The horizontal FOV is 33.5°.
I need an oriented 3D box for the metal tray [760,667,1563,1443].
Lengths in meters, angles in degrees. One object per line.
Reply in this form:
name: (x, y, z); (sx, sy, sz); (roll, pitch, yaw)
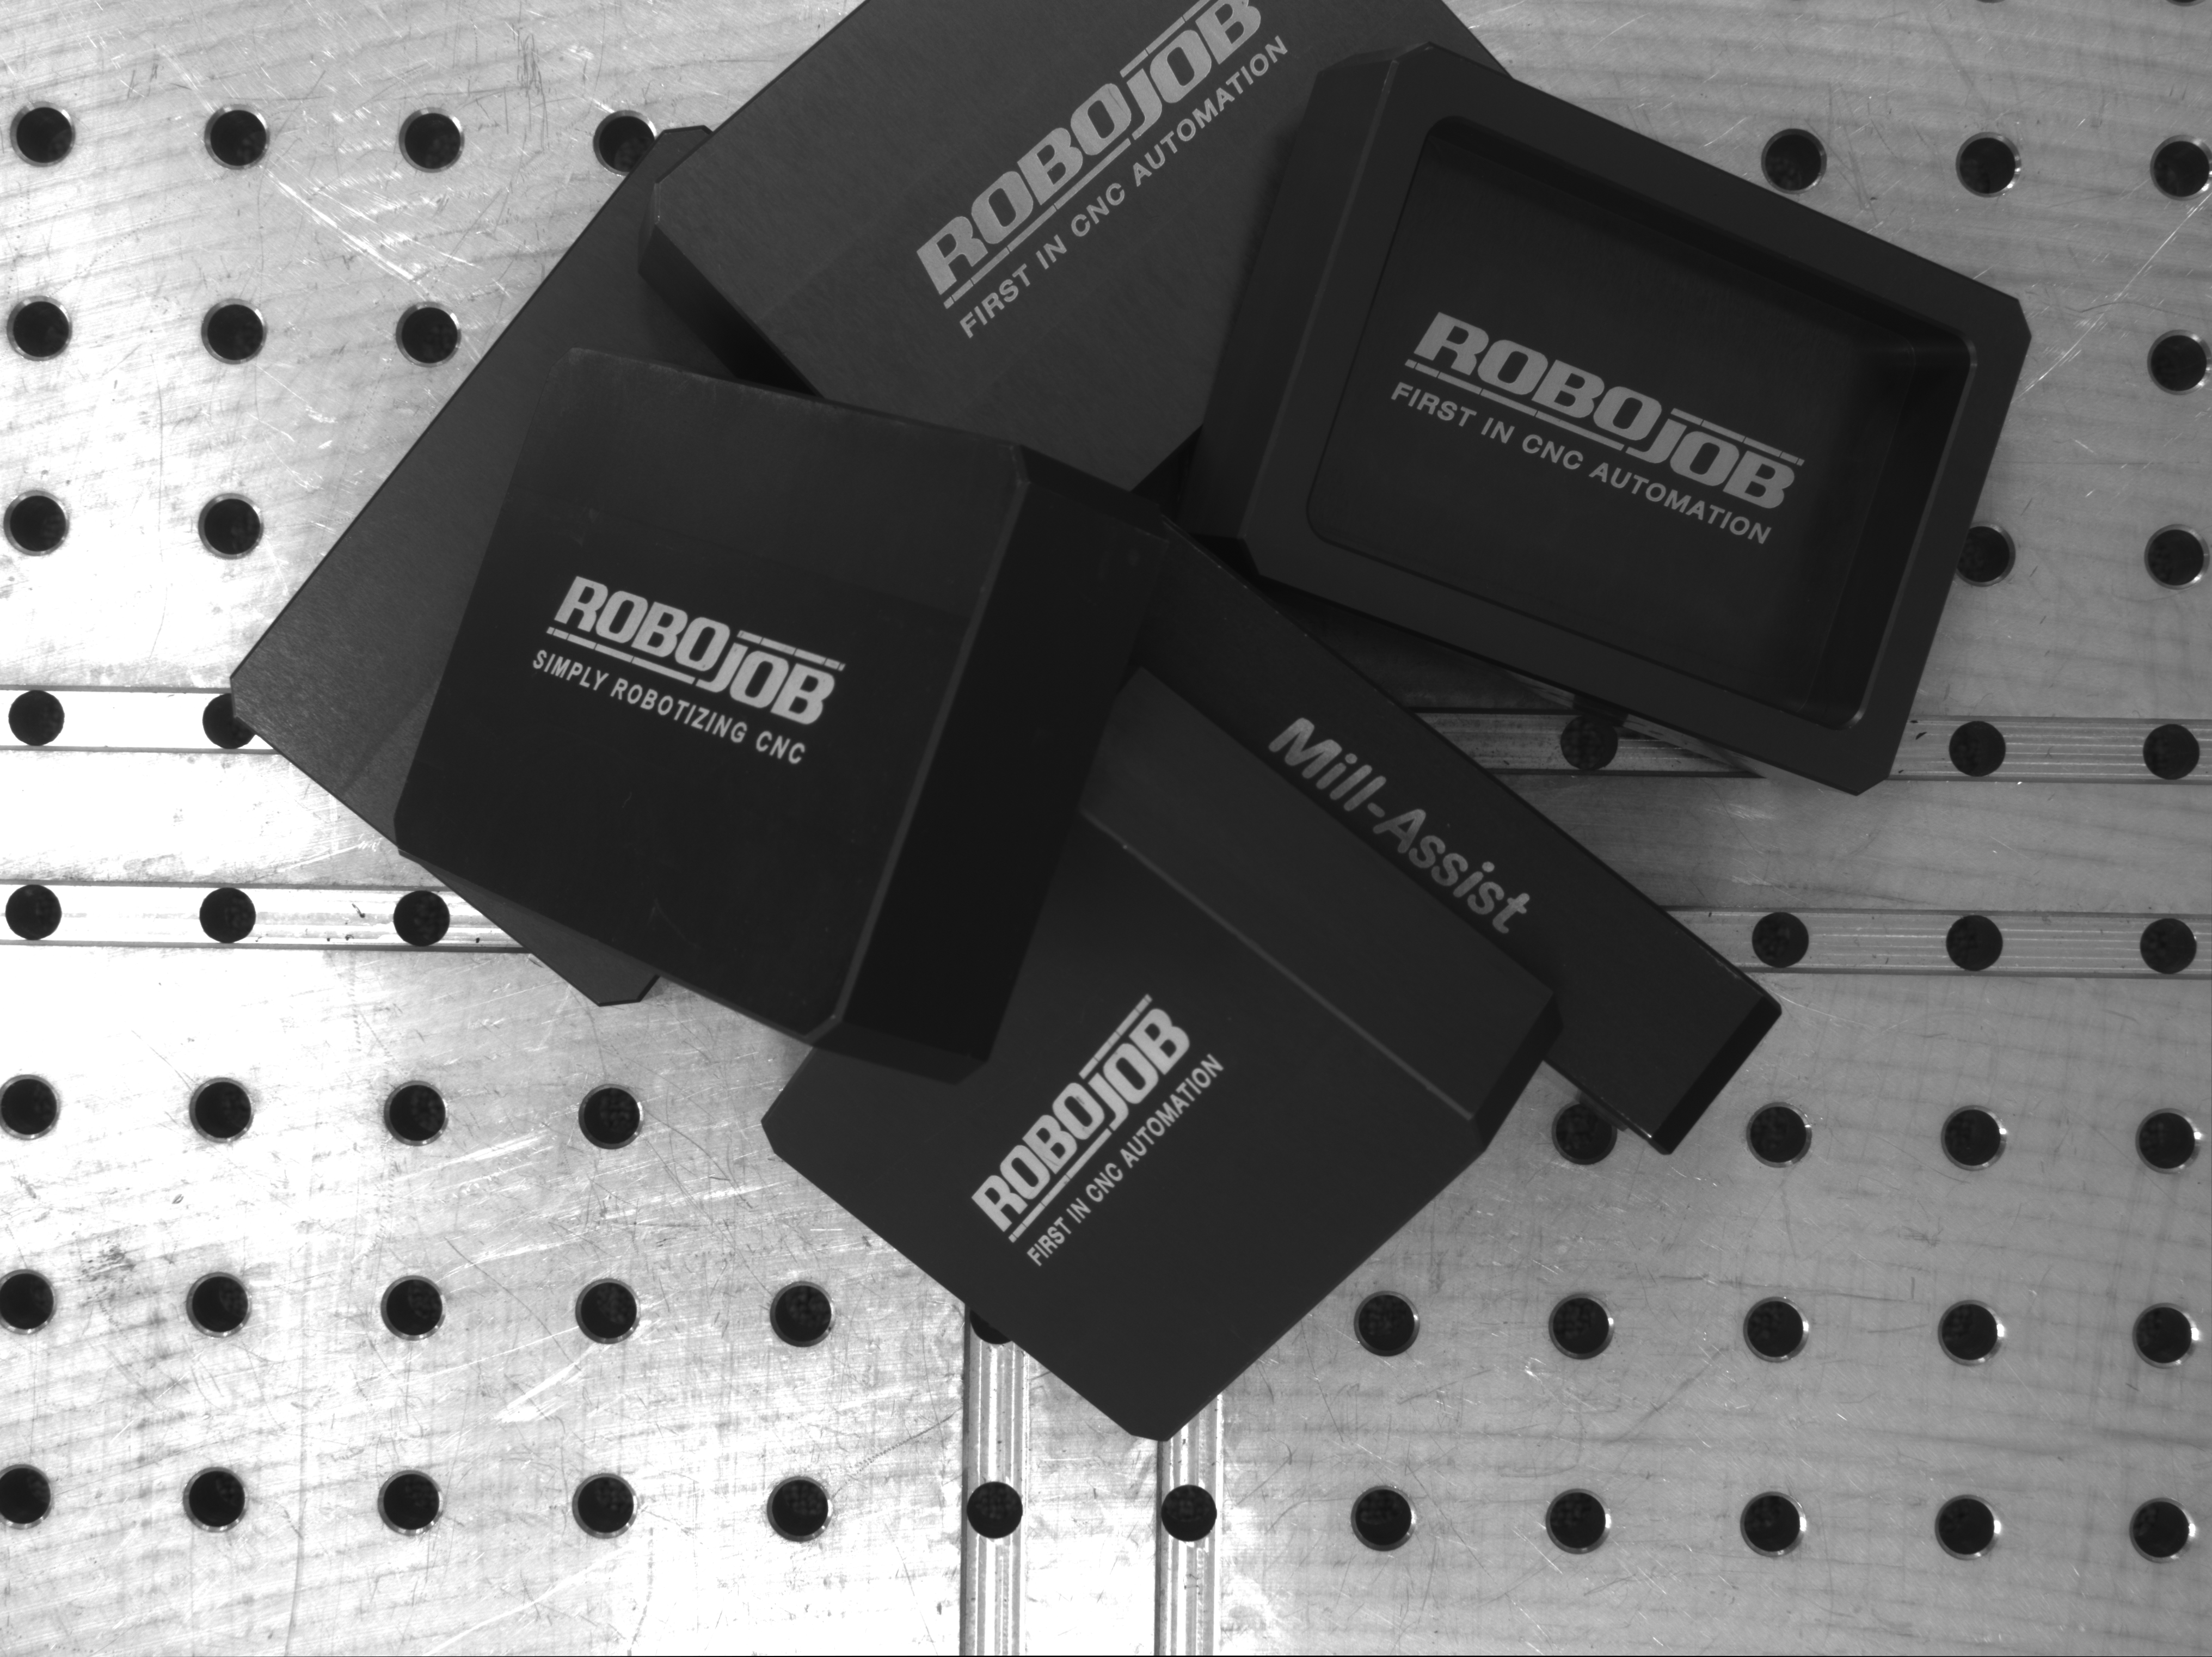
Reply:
metal tray: (0.005, 0.041, 0.600); (0.090, 0.130, 0.030); (39, 51, 0)

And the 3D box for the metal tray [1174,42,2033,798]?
metal tray: (0.085, -0.067, 0.622); (0.130, 0.030, 0.090); (18, 90, -22)

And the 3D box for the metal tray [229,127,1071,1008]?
metal tray: (-0.078, -0.045, 0.646); (0.090, 0.030, 0.130); (39, 90, -1)

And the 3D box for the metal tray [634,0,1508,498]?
metal tray: (-0.004, -0.111, 0.627); (0.130, 0.030, 0.090); (-44, 93, -14)

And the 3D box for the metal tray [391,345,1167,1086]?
metal tray: (-0.055, -0.021, 0.573); (0.030, 0.130, 0.090); (19, 90, -42)

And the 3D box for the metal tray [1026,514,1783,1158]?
metal tray: (0.047, 0.000, 0.615); (0.130, 0.090, 0.030); (39, 90, 0)
